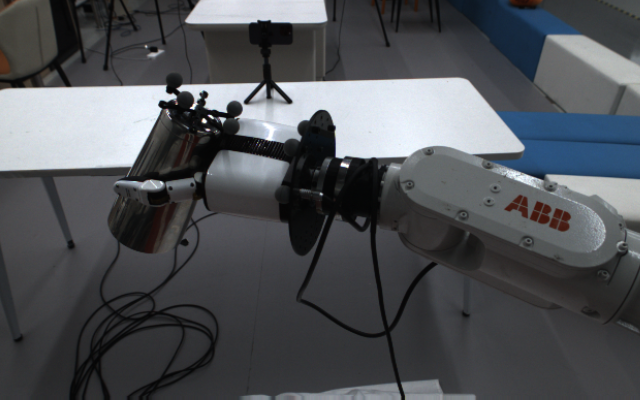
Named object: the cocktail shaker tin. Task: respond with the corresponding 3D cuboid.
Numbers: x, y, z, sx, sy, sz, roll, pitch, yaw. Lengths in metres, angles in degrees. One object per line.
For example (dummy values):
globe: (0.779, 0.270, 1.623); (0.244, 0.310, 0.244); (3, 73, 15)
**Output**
cocktail shaker tin: (-0.174, -0.031, 0.562); (0.093, 0.170, 0.093); (26, 32, -18)
